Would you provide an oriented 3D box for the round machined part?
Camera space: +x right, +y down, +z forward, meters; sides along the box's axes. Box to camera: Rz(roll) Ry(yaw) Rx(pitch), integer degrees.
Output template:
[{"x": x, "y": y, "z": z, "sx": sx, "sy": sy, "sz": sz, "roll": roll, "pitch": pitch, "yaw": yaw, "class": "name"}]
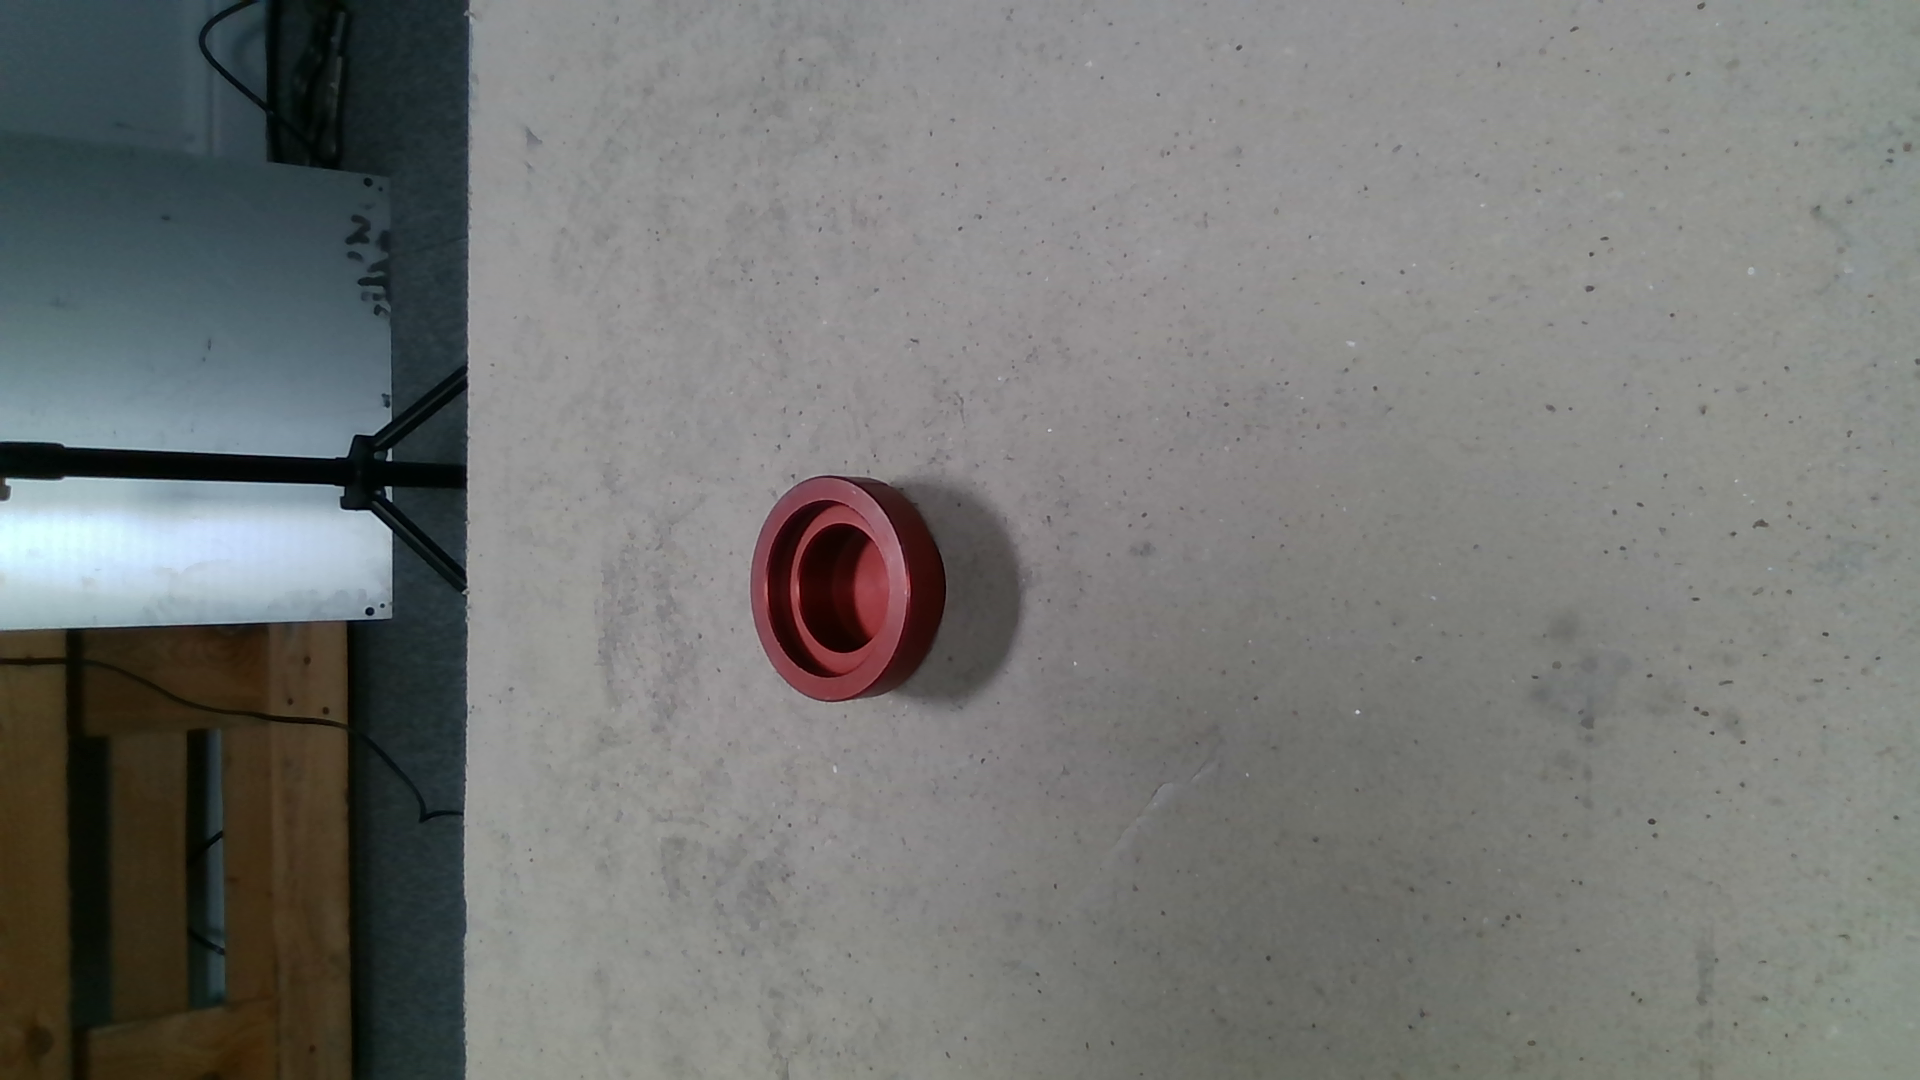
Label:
[{"x": -0.045, "y": 0.021, "z": 0.609, "sx": 0.098, "sy": 0.042, "sz": 0.098, "roll": 0, "pitch": 91, "yaw": 40, "class": "round machined part"}]
